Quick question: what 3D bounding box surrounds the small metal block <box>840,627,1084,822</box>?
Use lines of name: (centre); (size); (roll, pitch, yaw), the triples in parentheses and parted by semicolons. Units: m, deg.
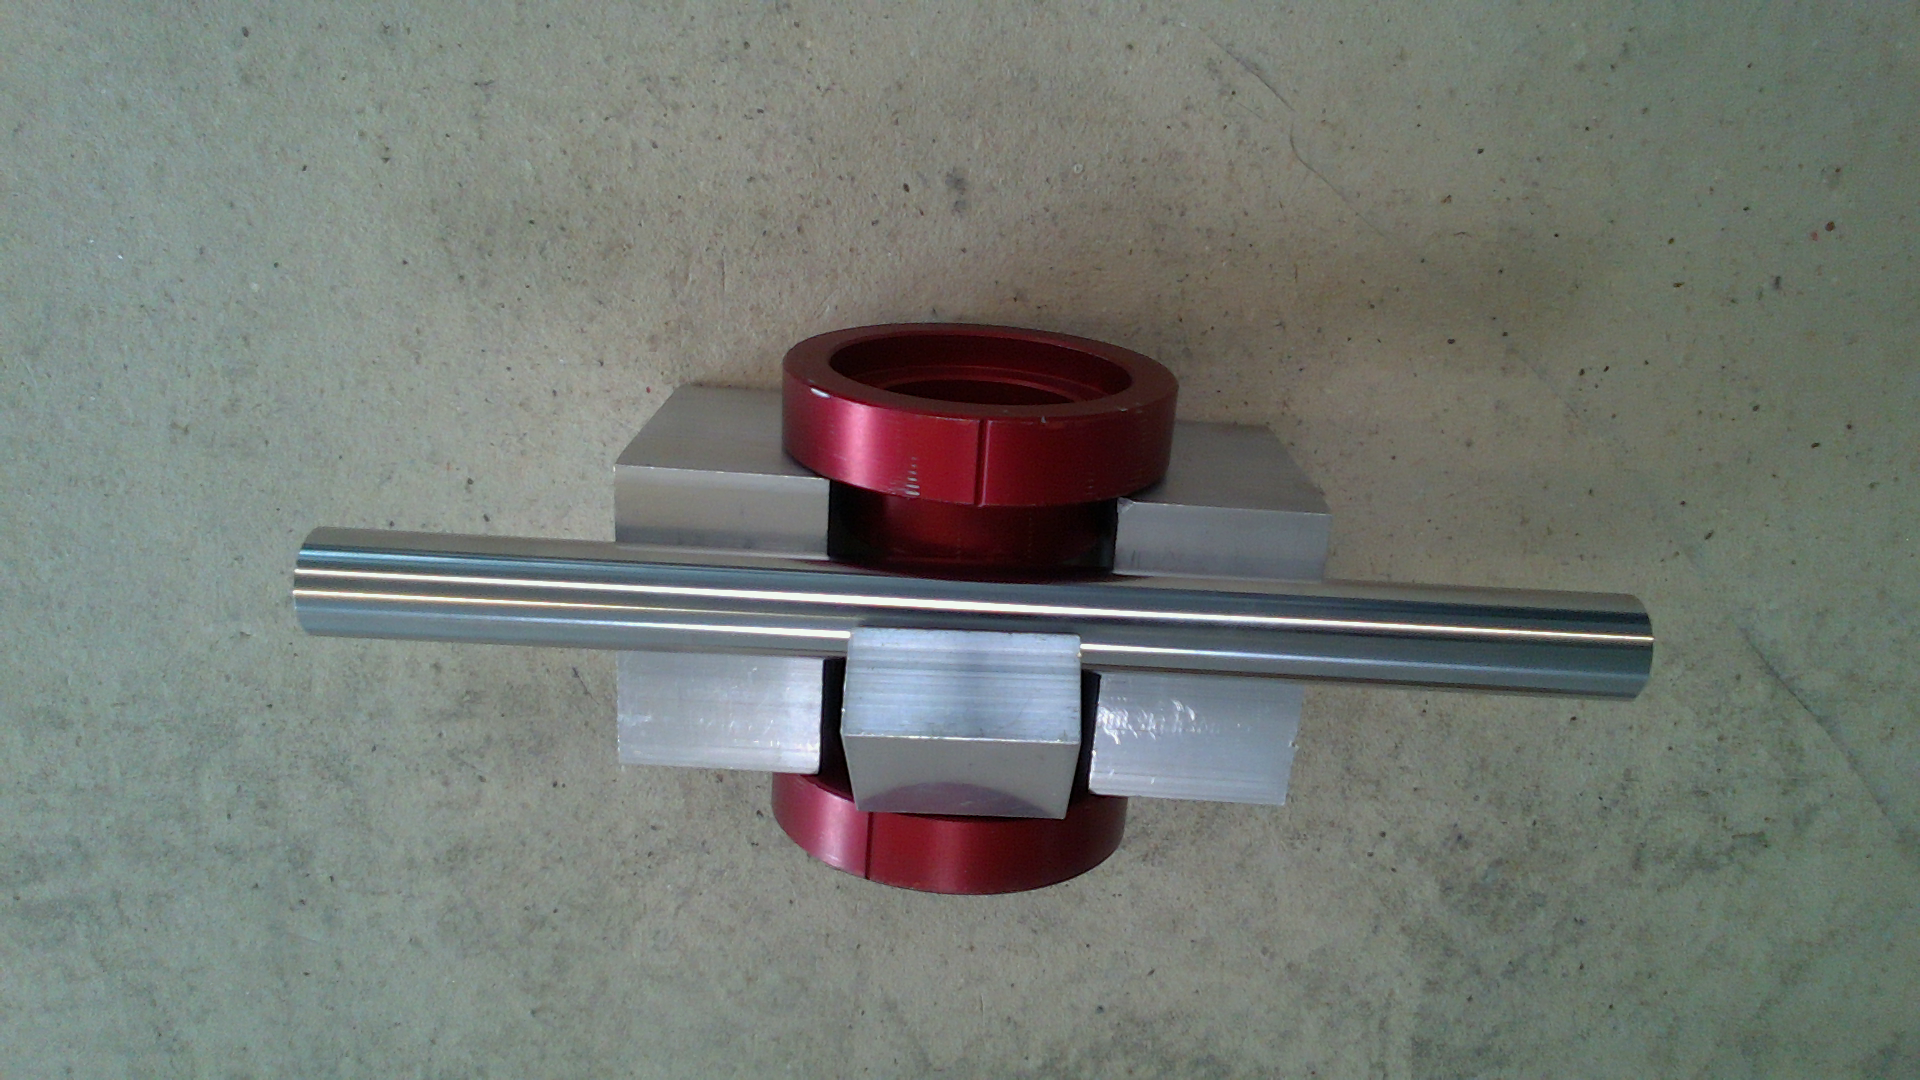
small metal block: (0.001, 0.043, 0.310); (0.050, 0.025, 0.050); (2, 151, 1)

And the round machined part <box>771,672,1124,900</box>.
round machined part: (-0.002, 0.055, 0.375); (0.098, 0.098, 0.042); (4, 105, -2)

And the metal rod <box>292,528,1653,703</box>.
metal rod: (0.004, 0.018, 0.315); (0.300, 0.025, 0.025); (3, 110, -1)

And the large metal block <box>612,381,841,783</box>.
large metal block: (-0.058, 0.008, 0.367); (0.050, 0.080, 0.080); (4, 110, -1)

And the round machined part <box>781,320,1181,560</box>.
round machined part: (0.004, -0.024, 0.346); (0.098, 0.098, 0.042); (4, 111, -1)

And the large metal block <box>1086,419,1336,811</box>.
large metal block: (0.060, 0.016, 0.371); (0.050, 0.080, 0.080); (3, 110, -1)
